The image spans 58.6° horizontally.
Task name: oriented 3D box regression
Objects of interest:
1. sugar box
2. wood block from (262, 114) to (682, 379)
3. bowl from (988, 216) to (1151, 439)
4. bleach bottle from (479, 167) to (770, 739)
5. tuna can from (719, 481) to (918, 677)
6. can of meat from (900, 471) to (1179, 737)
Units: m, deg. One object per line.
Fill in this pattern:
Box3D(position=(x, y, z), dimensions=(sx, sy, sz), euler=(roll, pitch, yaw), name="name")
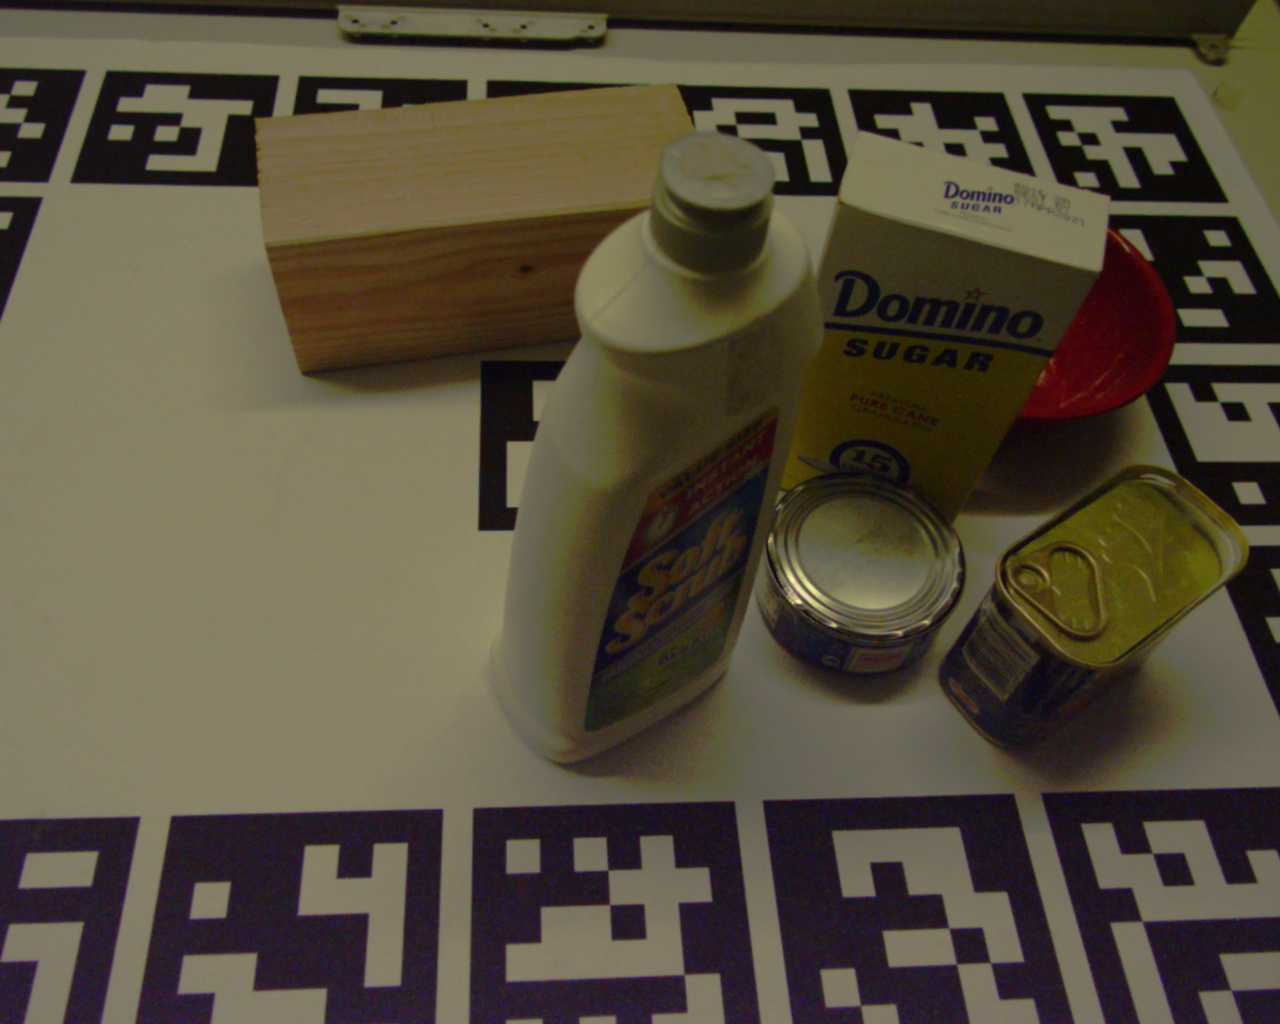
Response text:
Box3D(position=(0.104, -0.060, 0.494), dimensions=(0.093, 0.176, 0.045), euler=(17, 57, 11), name="sugar box")
Box3D(position=(-0.084, -0.140, 0.595), dimensions=(0.205, 0.090, 0.091), euler=(-7, 60, -10), name="wood block")
Box3D(position=(0.175, -0.092, 0.598), dimensions=(0.161, 0.055, 0.162), euler=(-1, 55, 0), name="bowl")
Box3D(position=(-0.011, -0.010, 0.410), dimensions=(0.102, 0.250, 0.068), euler=(-22, 59, -19), name="bleach bottle")
Box3D(position=(0.079, 0.030, 0.515), dimensions=(0.085, 0.033, 0.086), euler=(1, 58, -3), name="tuna can")
Box3D(position=(0.166, 0.042, 0.491), dimensions=(0.101, 0.083, 0.058), euler=(-25, 58, -22), name="can of meat")
